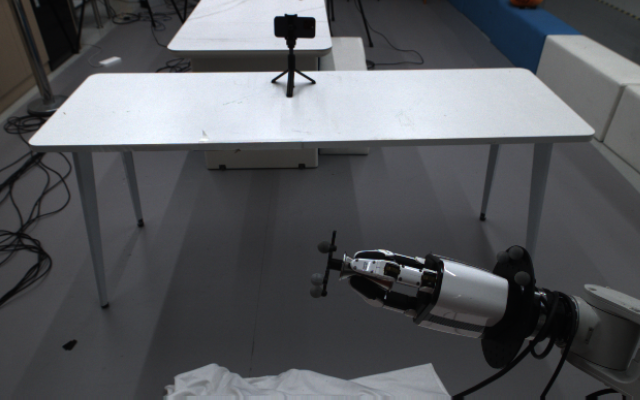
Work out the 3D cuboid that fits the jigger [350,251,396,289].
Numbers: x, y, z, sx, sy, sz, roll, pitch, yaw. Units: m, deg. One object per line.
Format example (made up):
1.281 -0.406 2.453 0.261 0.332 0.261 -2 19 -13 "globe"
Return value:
0.069 0.089 0.637 0.071 0.043 0.043 11 35 3 "jigger"
